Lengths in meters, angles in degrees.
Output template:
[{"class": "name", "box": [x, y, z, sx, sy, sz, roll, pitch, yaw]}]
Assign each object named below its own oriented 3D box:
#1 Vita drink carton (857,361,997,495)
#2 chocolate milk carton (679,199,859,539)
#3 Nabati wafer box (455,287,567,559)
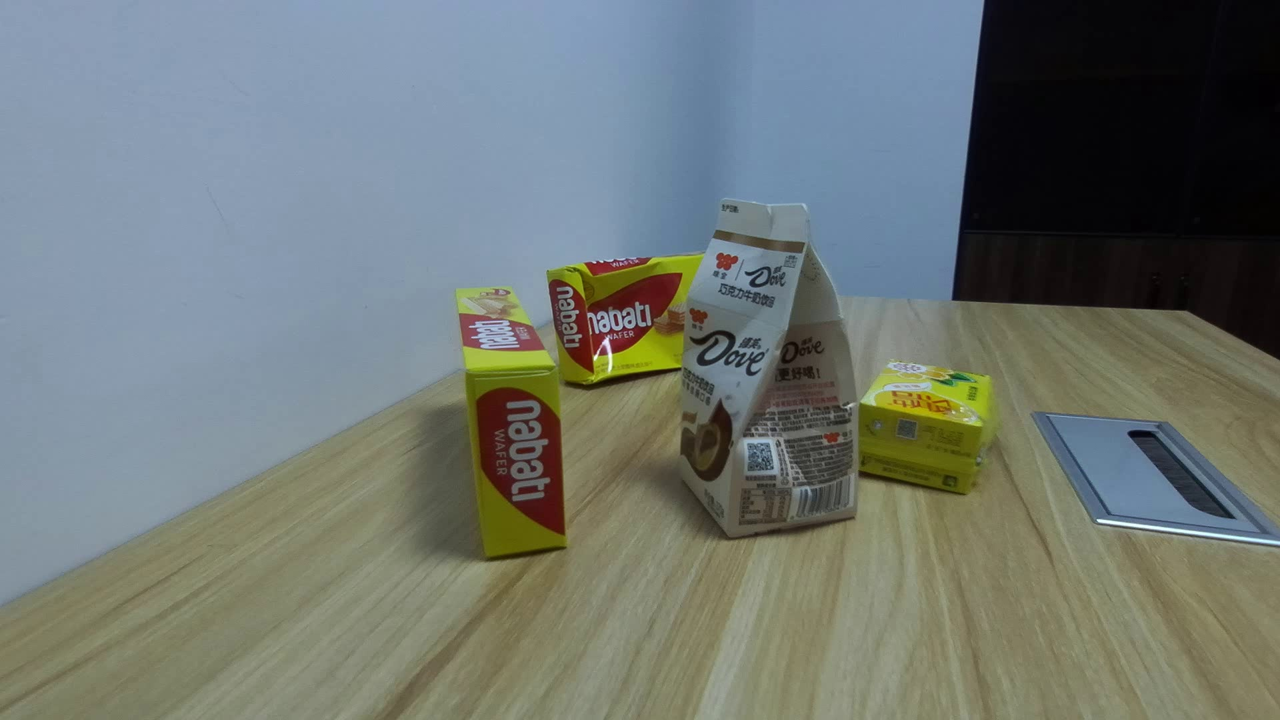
[{"class": "Vita drink carton", "box": [0.176, 0.037, 0.425, 0.076, 0.043, 0.109, 11, 18, 26]}, {"class": "chocolate milk carton", "box": [0.066, 0.000, 0.352, 0.073, 0.155, 0.084, -5, 17, -14]}, {"class": "Nabati wafer box", "box": [-0.079, 0.021, 0.406, 0.042, 0.093, 0.202, -5, 16, -15]}]
